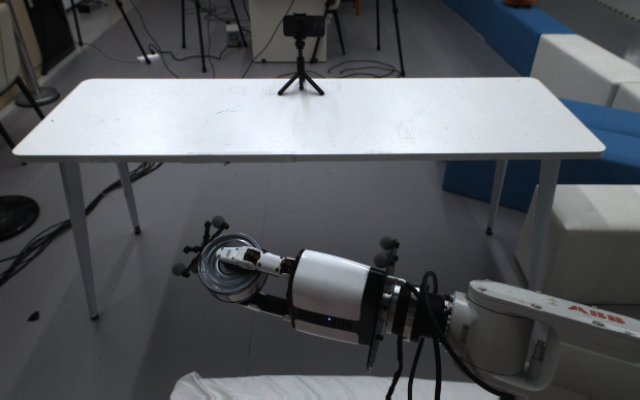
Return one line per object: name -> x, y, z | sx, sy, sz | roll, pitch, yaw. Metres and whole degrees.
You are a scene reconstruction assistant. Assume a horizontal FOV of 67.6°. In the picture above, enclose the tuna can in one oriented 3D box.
tuna can -> -0.107, 0.089, 0.614 | 0.085, 0.034, 0.085 | -1, 61, 2
